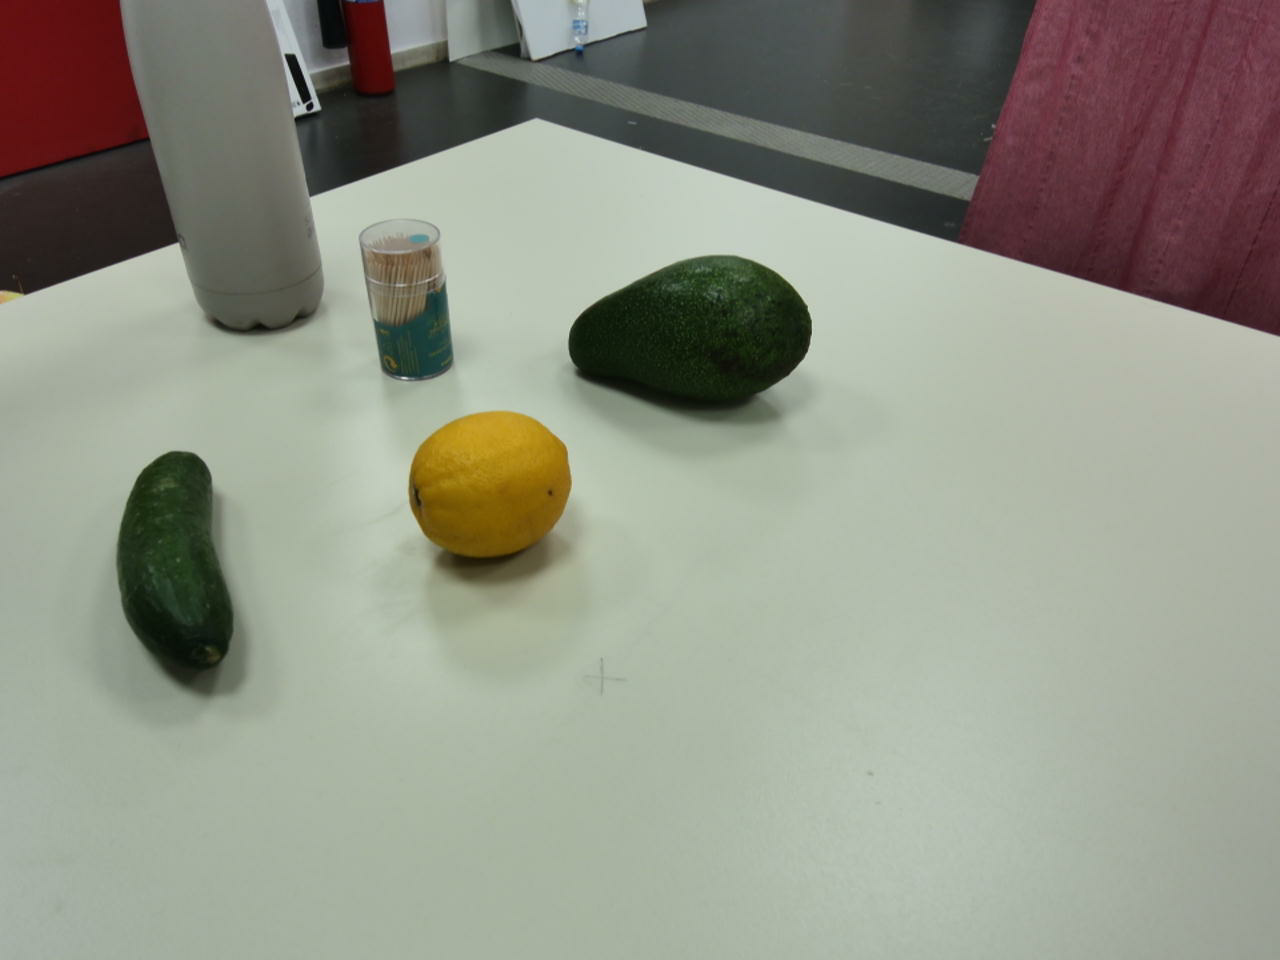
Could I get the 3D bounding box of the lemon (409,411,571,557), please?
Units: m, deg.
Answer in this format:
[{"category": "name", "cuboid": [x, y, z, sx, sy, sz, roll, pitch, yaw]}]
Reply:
[{"category": "lemon", "cuboid": [-0.062, 0.002, 0.414, 0.067, 0.059, 0.060, -5, 36, -9]}]
